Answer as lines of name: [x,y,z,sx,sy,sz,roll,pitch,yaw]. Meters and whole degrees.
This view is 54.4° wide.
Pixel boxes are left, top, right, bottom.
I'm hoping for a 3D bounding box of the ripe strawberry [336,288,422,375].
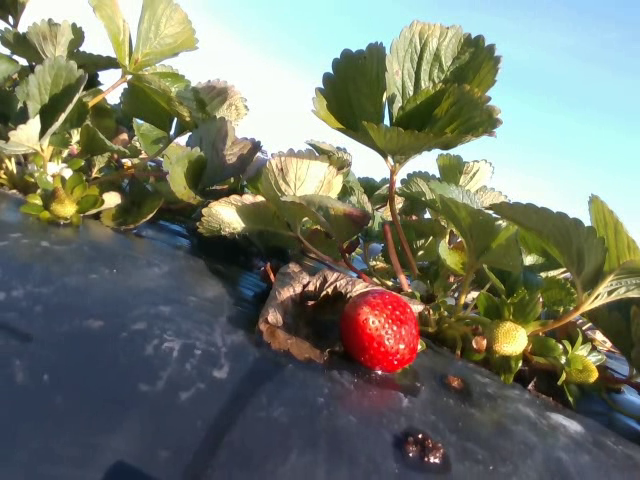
ripe strawberry: [0.020,0.034,0.234,0.046,0.038,0.054,39,6,27]
